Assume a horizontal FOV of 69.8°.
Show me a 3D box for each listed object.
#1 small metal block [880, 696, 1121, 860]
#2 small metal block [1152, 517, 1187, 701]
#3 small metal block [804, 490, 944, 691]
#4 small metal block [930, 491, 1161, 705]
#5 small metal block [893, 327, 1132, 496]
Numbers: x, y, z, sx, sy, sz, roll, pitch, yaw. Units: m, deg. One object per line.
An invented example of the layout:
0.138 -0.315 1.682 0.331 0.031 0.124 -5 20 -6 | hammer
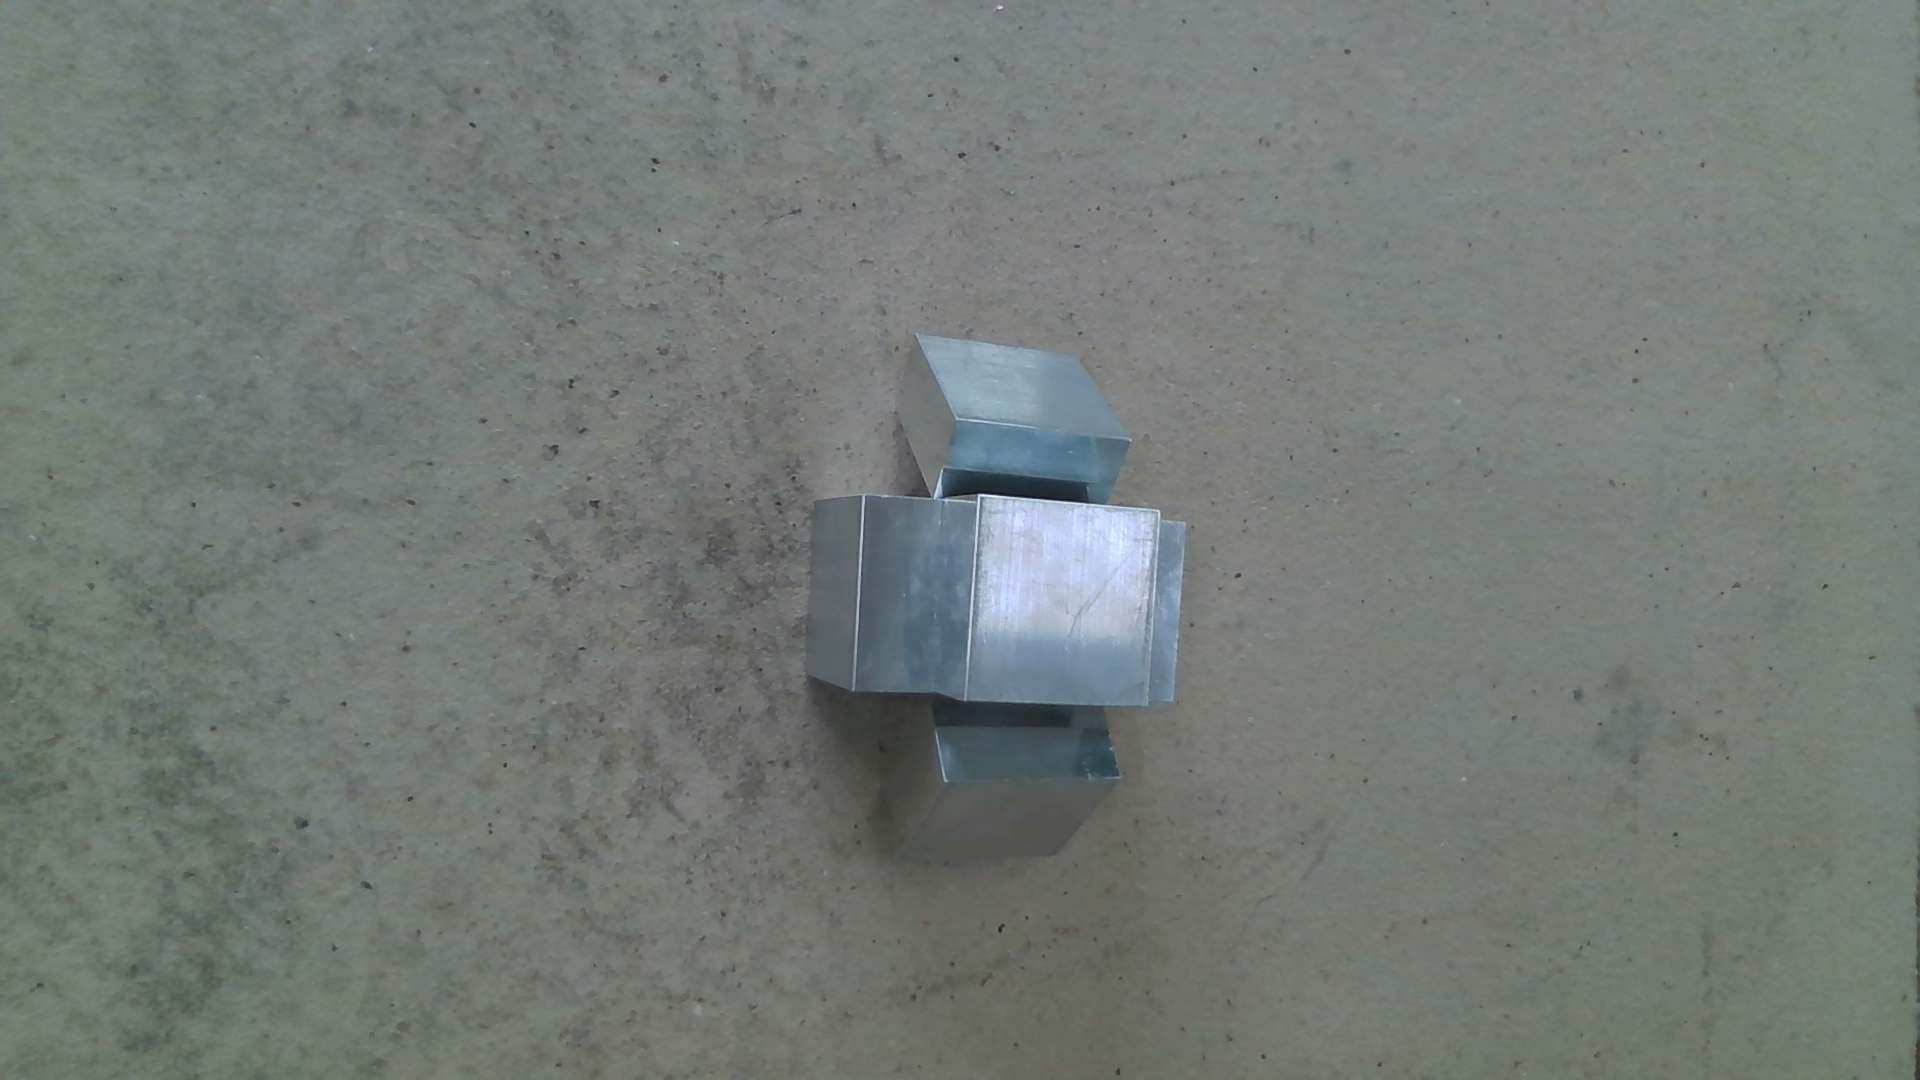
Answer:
0.010 0.066 0.382 0.050 0.050 0.025 2 54 -20 | small metal block
0.040 0.018 0.396 0.025 0.050 0.050 5 88 -20 | small metal block
-0.023 0.013 0.373 0.025 0.050 0.050 3 89 -20 | small metal block
0.021 0.015 0.350 0.050 0.025 0.050 4 88 -20 | small metal block
0.013 -0.034 0.384 0.050 0.050 0.025 5 124 -20 | small metal block
